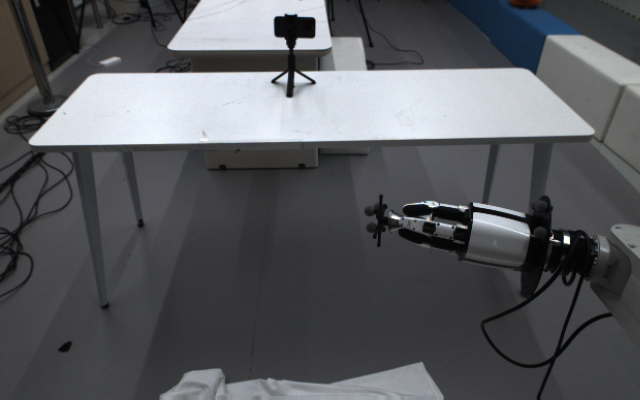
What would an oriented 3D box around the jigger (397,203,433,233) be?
[{"bbox_3d":[0.156,0.032,0.792,0.071,0.043,0.043,3,34,18],"label":"jigger"}]
